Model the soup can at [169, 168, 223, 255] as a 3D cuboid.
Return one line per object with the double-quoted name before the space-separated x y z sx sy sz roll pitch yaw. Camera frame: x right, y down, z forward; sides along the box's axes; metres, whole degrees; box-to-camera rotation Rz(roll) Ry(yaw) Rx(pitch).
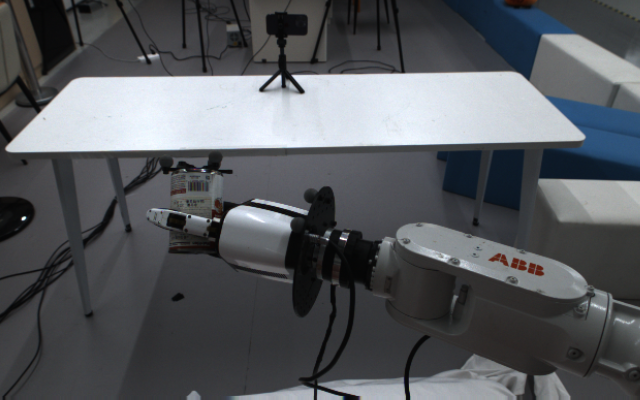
"soup can" -0.155 0.018 0.614 0.067 0.101 0.067 -2 -9 0
